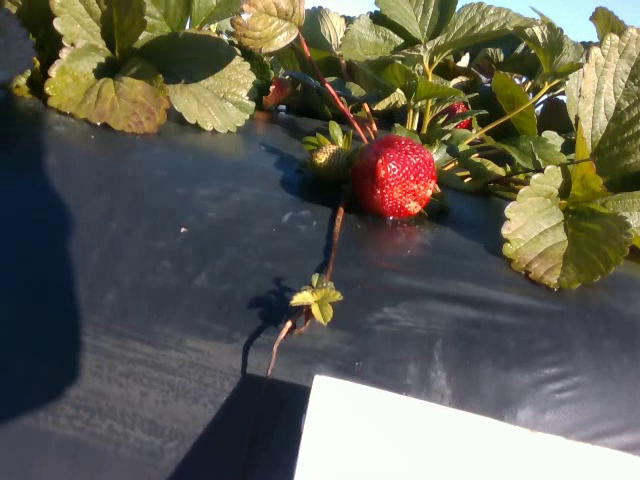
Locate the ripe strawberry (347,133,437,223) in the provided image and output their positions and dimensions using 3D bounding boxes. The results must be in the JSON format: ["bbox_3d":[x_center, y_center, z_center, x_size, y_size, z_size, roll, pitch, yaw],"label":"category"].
[{"bbox_3d":[0.030,-0.026,0.244,0.041,0.043,0.053,25,6,8],"label":"ripe strawberry"}]
